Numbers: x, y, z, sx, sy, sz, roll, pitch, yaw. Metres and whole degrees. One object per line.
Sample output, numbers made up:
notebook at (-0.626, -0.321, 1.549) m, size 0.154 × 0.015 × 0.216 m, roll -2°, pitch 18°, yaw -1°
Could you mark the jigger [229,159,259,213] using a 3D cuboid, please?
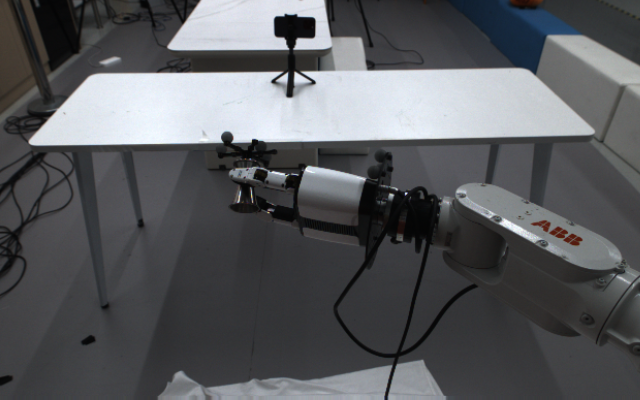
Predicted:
jigger at (-0.106, -0.021, 0.687) m, size 0.043 × 0.043 × 0.071 m, roll 1°, pitch 71°, yaw -2°
